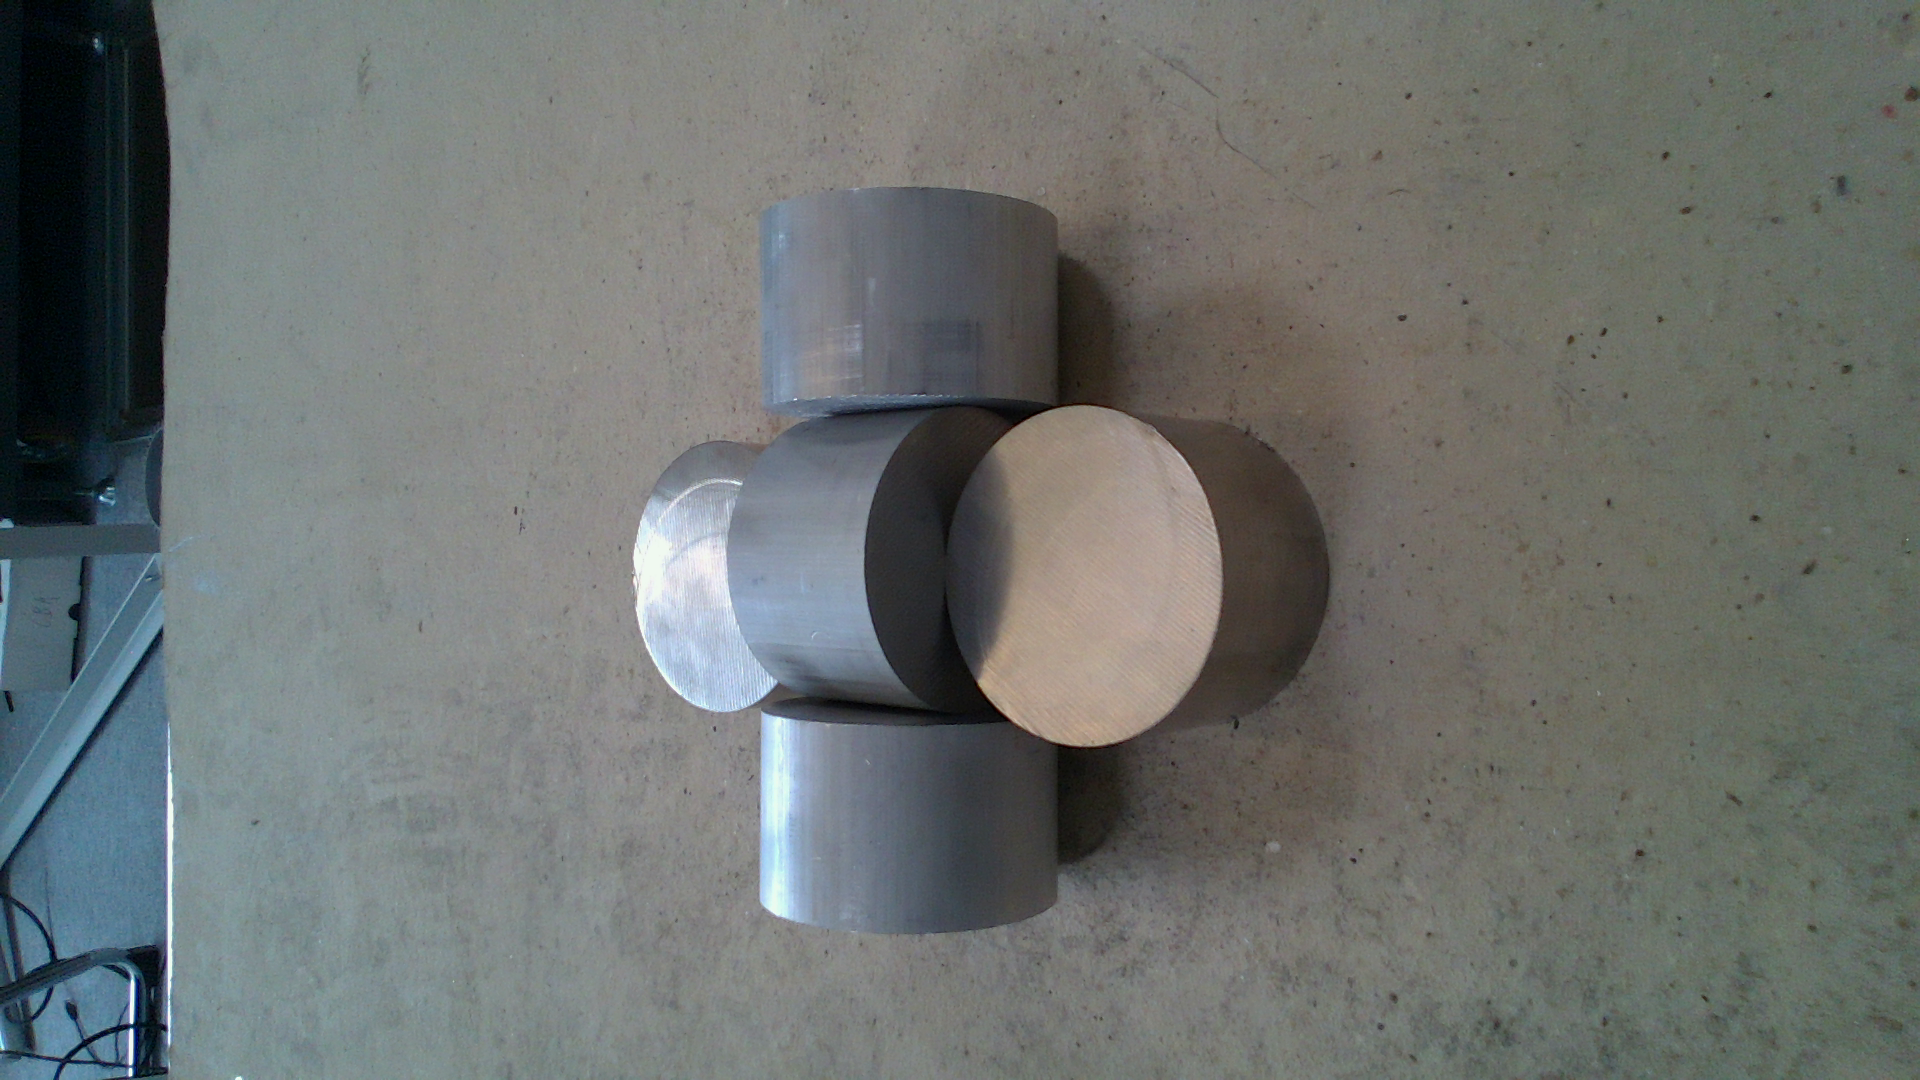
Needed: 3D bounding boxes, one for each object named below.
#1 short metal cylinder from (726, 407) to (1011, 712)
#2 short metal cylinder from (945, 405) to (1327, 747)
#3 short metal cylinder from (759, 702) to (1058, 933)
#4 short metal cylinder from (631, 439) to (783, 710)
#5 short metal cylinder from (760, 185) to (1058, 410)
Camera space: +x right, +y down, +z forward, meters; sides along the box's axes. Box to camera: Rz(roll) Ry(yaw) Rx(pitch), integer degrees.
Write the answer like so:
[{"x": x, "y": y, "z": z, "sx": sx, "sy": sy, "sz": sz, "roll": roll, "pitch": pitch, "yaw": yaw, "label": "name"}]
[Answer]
[{"x": -0.016, "y": 0.005, "z": 0.373, "sx": 0.050, "sy": 0.080, "sz": 0.080, "roll": 1, "pitch": 90, "yaw": 40, "label": "short metal cylinder"}, {"x": 0.043, "y": 0.008, "z": 0.342, "sx": 0.080, "sy": 0.050, "sz": 0.080, "roll": 0, "pitch": 91, "yaw": 40, "label": "short metal cylinder"}, {"x": -0.014, "y": 0.070, "z": 0.371, "sx": 0.080, "sy": 0.080, "sz": 0.050, "roll": 0, "pitch": 89, "yaw": 40, "label": "short metal cylinder"}, {"x": -0.057, "y": 0.010, "z": 0.426, "sx": 0.080, "sy": 0.050, "sz": 0.080, "roll": 0, "pitch": 90, "yaw": 39, "label": "short metal cylinder"}, {"x": -0.014, "y": -0.060, "z": 0.371, "sx": 0.080, "sy": 0.080, "sz": 0.050, "roll": 0, "pitch": 90, "yaw": 40, "label": "short metal cylinder"}]
